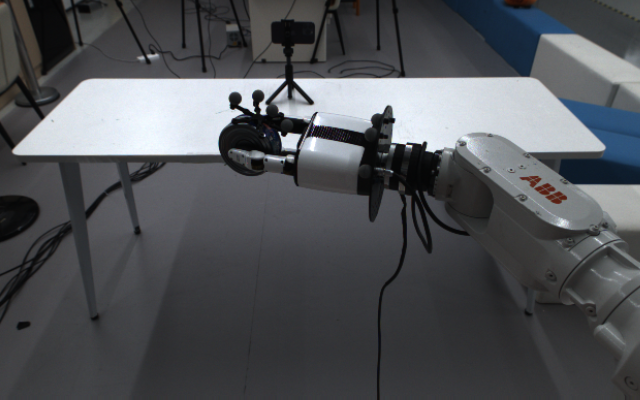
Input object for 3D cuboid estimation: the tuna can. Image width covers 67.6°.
[{"bbox_3d":[-0.097,-0.071,0.689,0.085,0.085,0.034,12,35,14],"label":"tuna can"}]
